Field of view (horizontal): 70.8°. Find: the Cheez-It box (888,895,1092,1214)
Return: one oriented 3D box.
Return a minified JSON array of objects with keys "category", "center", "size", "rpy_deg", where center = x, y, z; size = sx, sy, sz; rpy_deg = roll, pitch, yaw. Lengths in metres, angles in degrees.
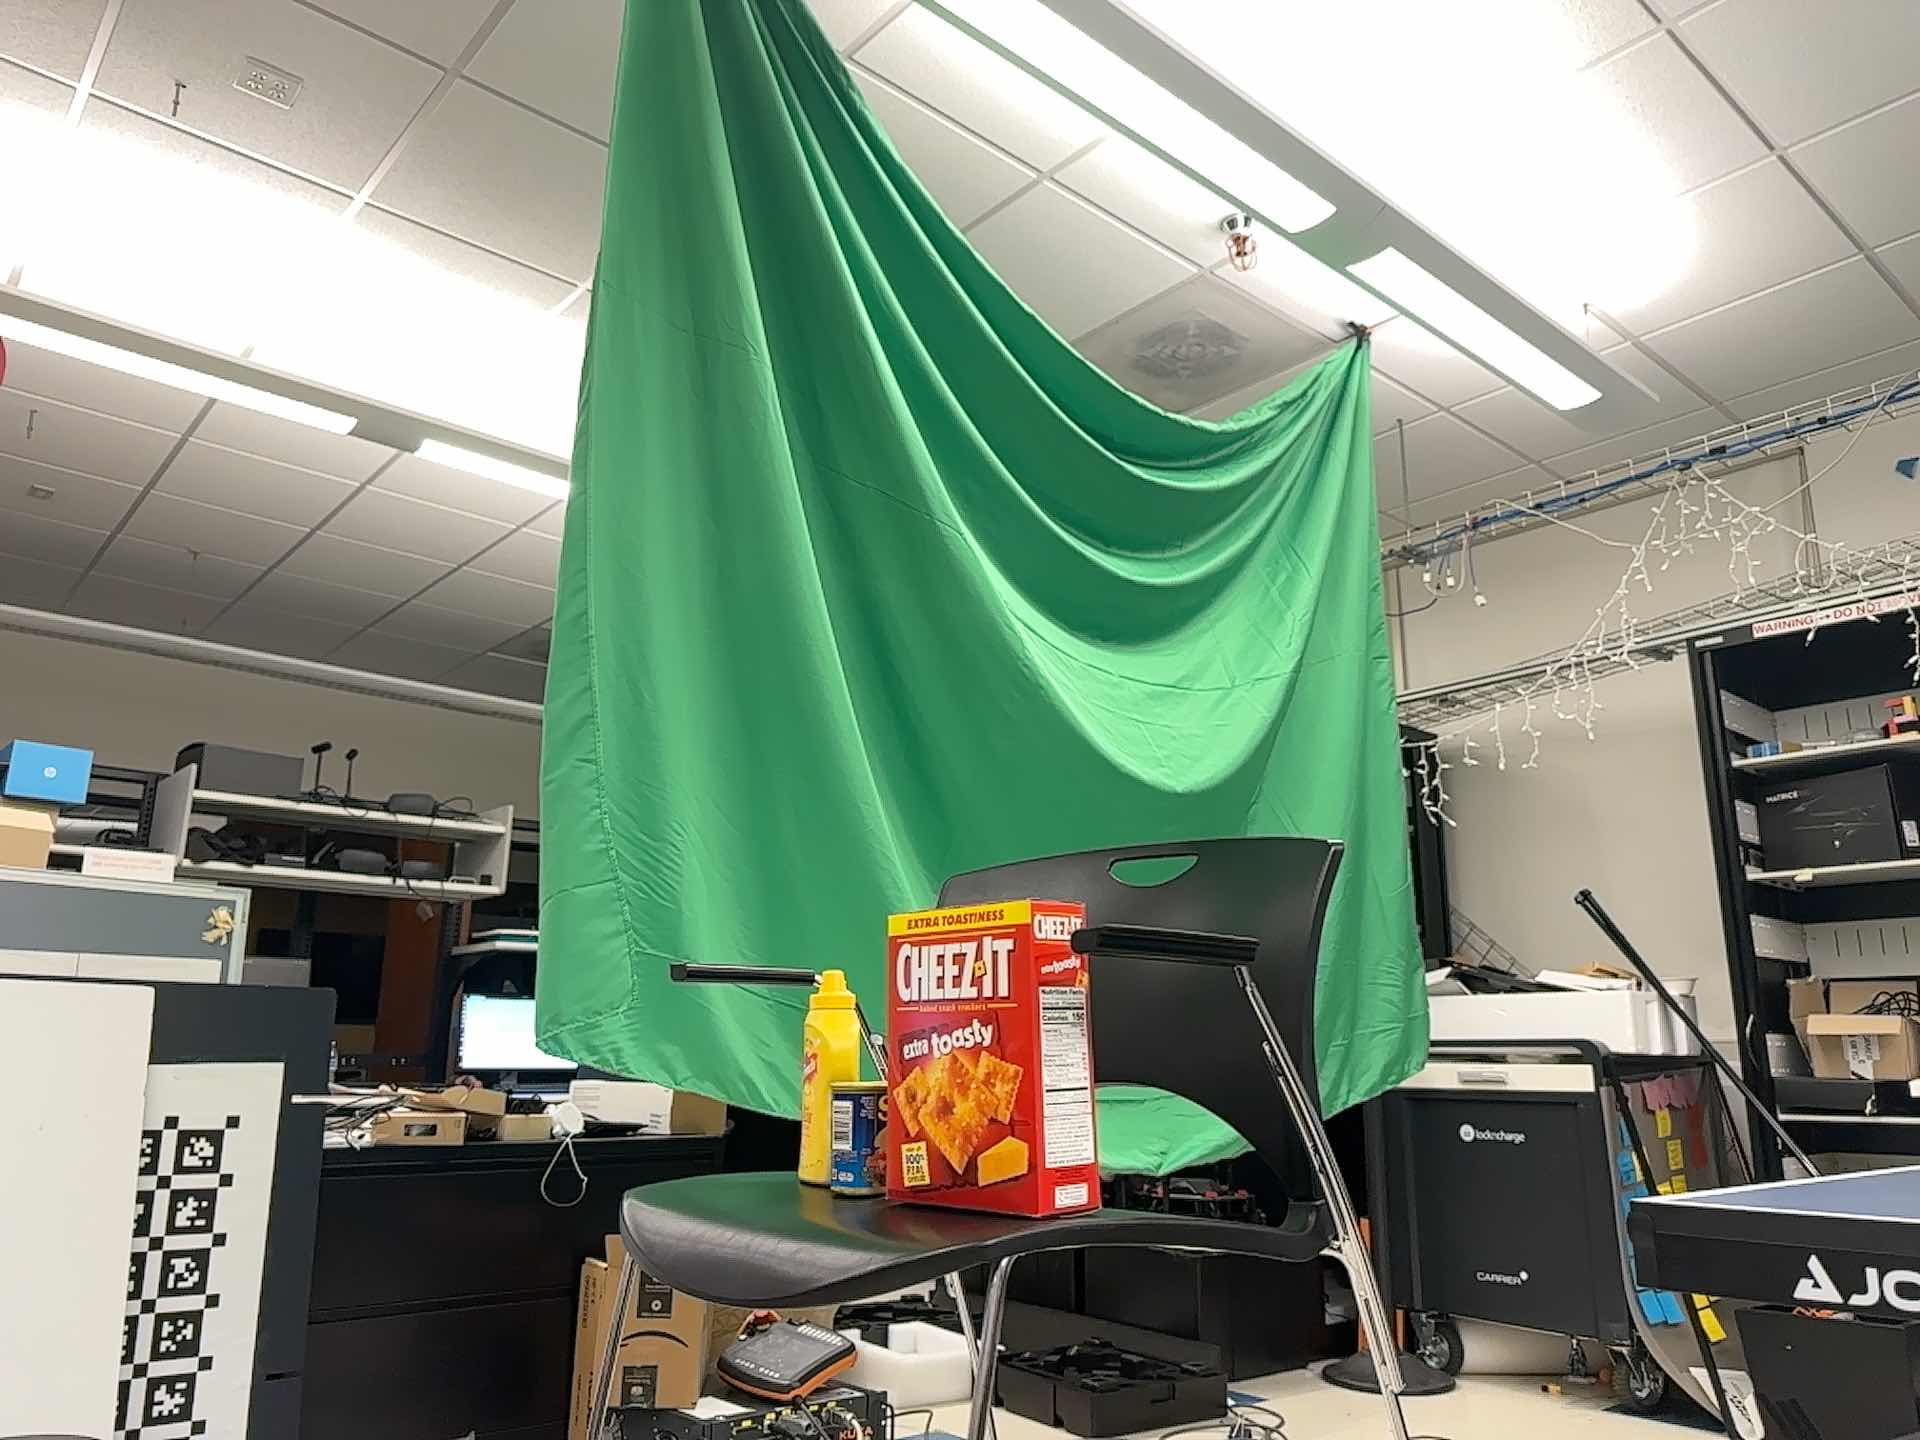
[{"category":"Cheez-It box","center":[0.019,0.253,1.034],"size":[0.062,0.214,0.159],"rpy_deg":[11,-17,-38]}]

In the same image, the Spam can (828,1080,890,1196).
[{"category":"Spam can","center":[-0.060,0.351,1.143],"size":[0.100,0.083,0.056],"rpy_deg":[7,-12,-38]}]

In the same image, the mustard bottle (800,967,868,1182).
[{"category":"mustard bottle","center":[-0.114,0.317,1.223],"size":[0.054,0.184,0.092],"rpy_deg":[3,-11,-24]}]
